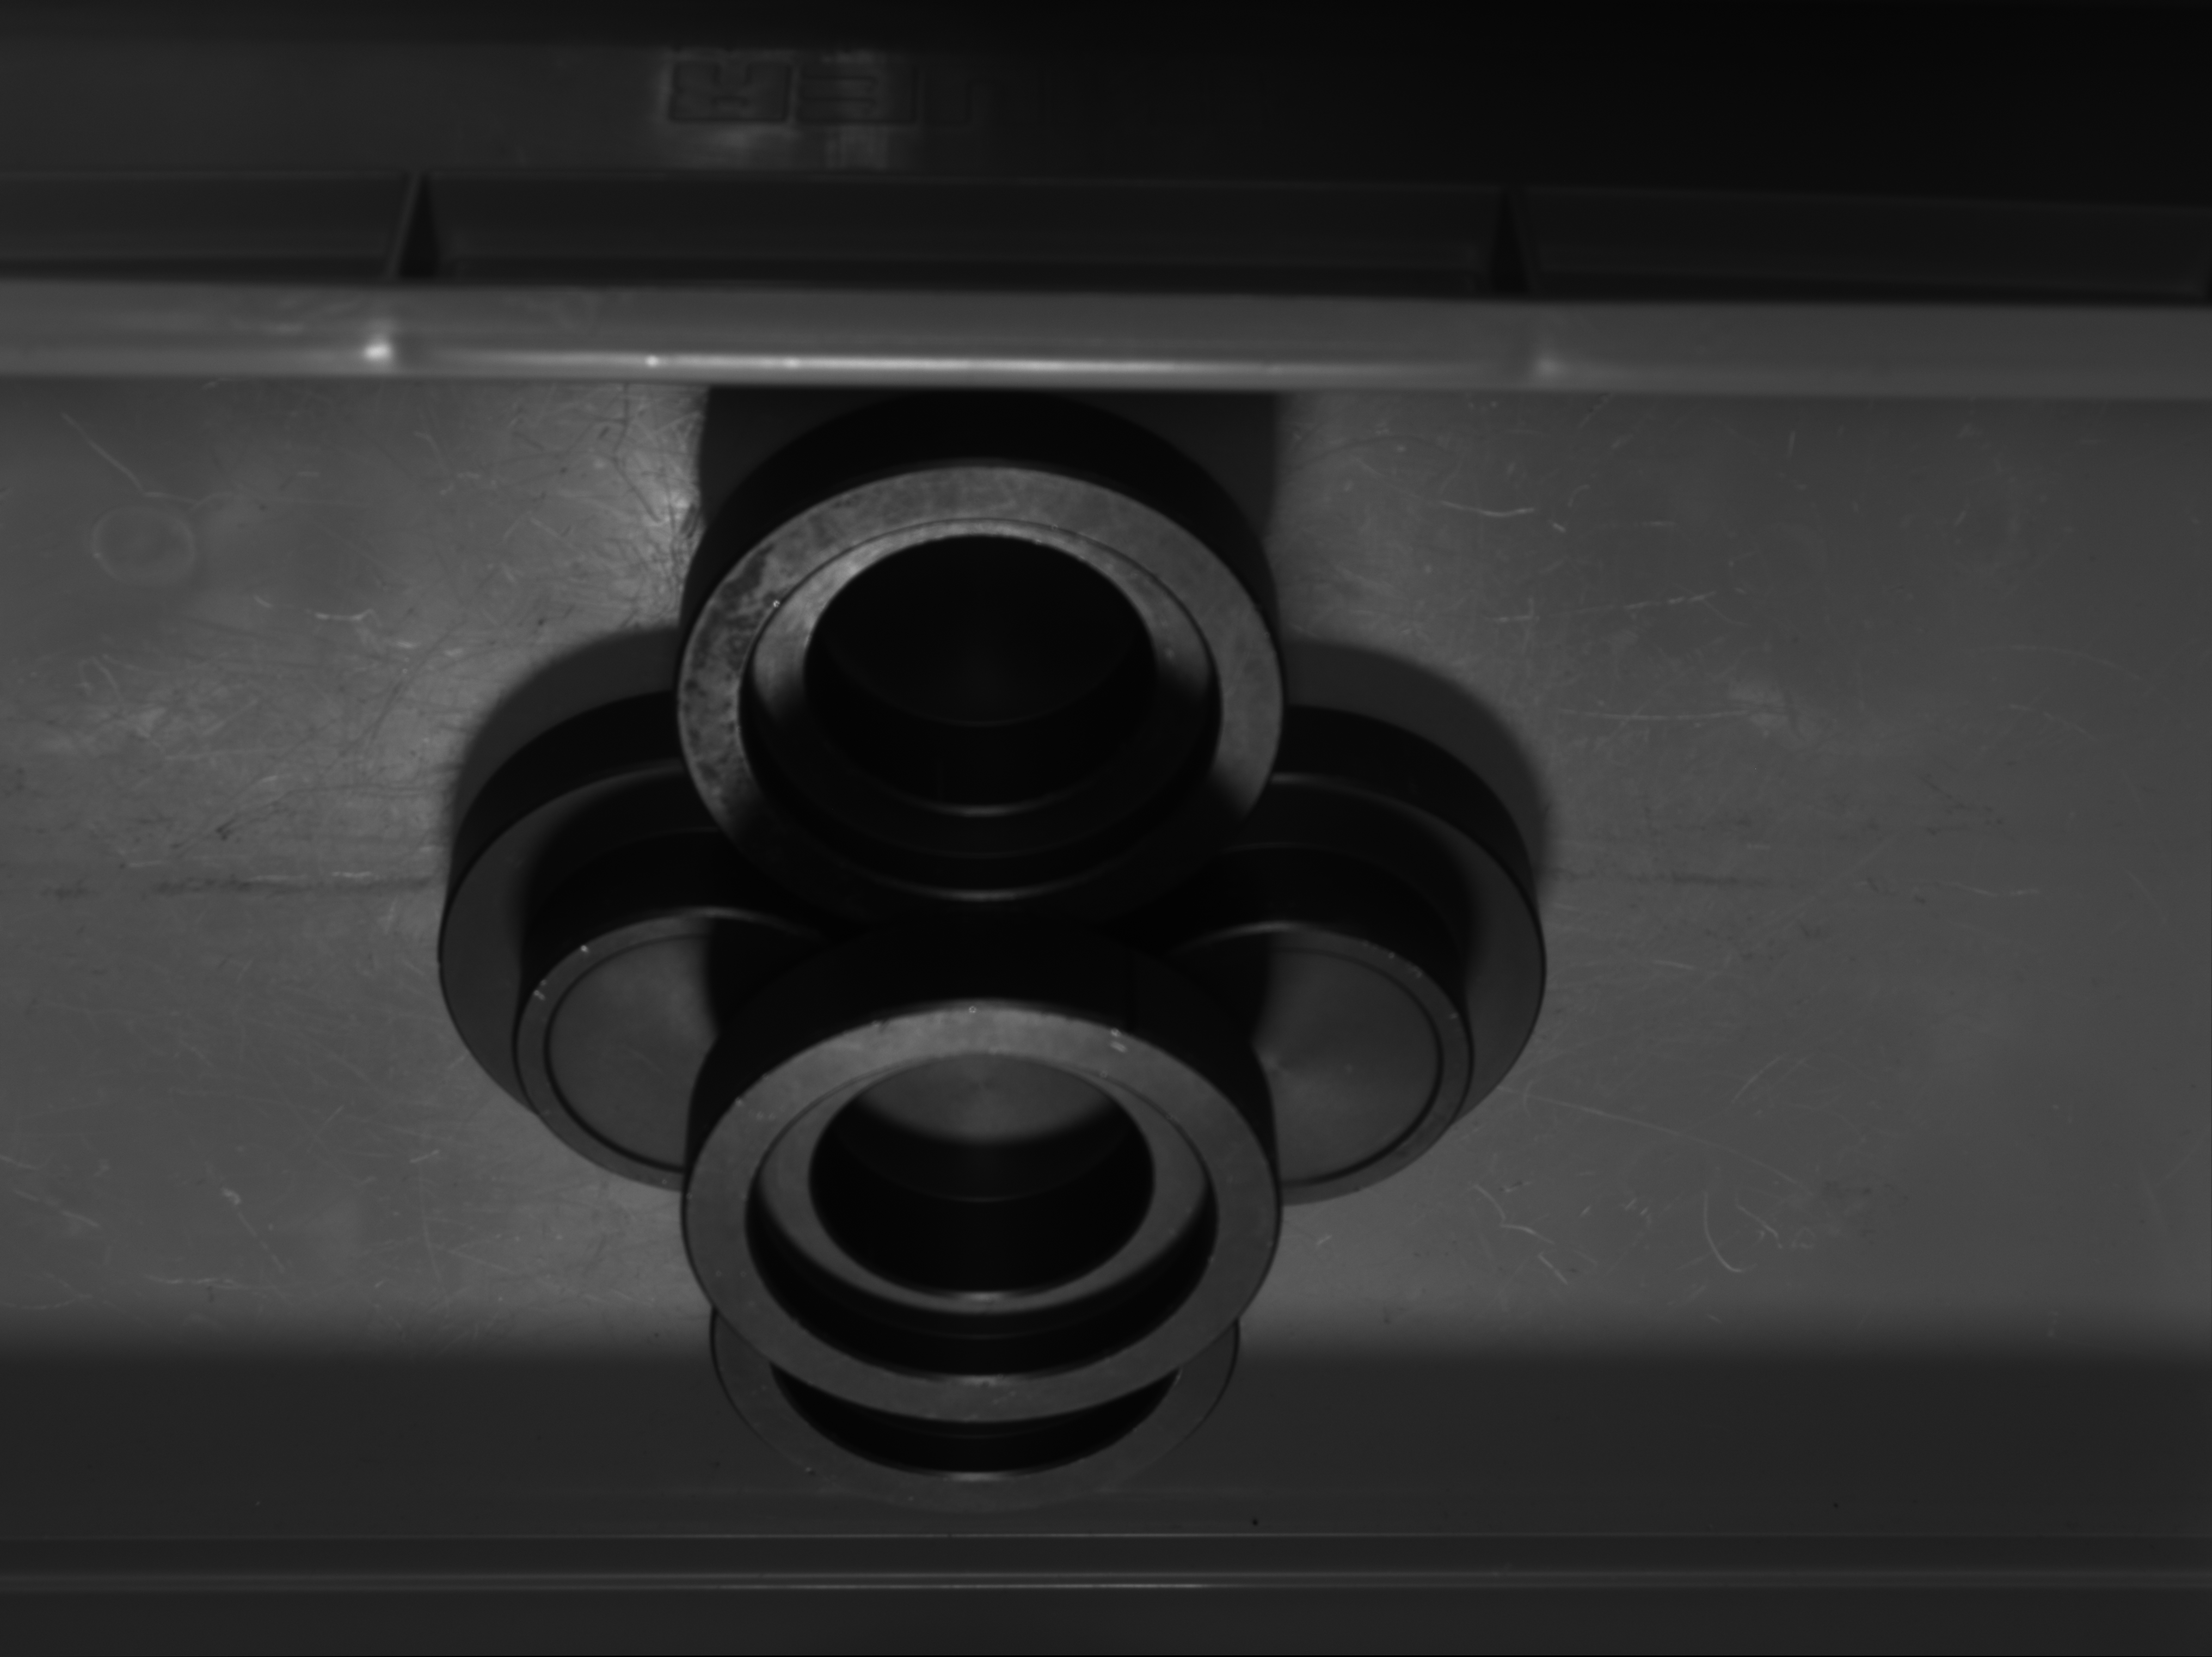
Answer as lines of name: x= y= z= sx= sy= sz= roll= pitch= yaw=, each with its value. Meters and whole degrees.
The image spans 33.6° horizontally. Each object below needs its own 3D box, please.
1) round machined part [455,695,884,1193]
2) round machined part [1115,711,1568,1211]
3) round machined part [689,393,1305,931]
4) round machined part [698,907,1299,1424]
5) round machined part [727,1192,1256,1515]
round machined part: x=-0.066 y=0.027 z=0.646 sx=0.098 sy=0.042 sz=0.098 roll=-1 pitch=130 yaw=-1
round machined part: x=0.033 y=0.030 z=0.651 sx=0.098 sy=0.042 sz=0.098 roll=-1 pitch=130 yaw=-1
round machined part: x=-0.018 y=-0.030 z=0.599 sx=0.098 sy=0.042 sz=0.098 roll=-1 pitch=130 yaw=-1
round machined part: x=-0.018 y=0.052 z=0.613 sx=0.098 sy=0.042 sz=0.098 roll=-1 pitch=130 yaw=-1
round machined part: x=-0.022 y=0.083 z=0.694 sx=0.098 sy=0.042 sz=0.098 roll=-1 pitch=130 yaw=-1
